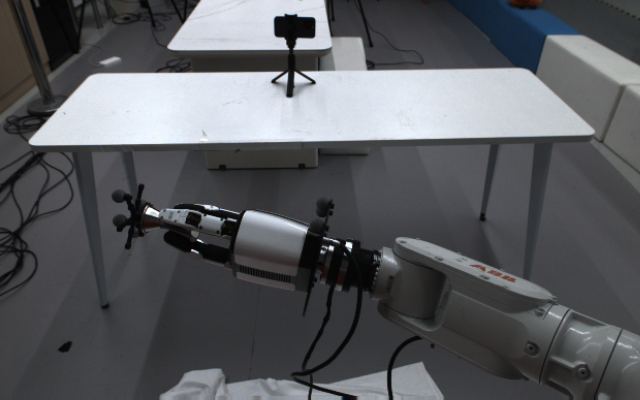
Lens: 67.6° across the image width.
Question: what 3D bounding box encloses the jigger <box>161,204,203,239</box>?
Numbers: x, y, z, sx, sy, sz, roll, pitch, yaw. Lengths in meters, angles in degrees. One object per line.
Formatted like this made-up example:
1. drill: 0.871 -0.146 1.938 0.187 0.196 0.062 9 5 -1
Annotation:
1. jigger: -0.190 0.026 0.649 0.071 0.043 0.043 8 35 2
